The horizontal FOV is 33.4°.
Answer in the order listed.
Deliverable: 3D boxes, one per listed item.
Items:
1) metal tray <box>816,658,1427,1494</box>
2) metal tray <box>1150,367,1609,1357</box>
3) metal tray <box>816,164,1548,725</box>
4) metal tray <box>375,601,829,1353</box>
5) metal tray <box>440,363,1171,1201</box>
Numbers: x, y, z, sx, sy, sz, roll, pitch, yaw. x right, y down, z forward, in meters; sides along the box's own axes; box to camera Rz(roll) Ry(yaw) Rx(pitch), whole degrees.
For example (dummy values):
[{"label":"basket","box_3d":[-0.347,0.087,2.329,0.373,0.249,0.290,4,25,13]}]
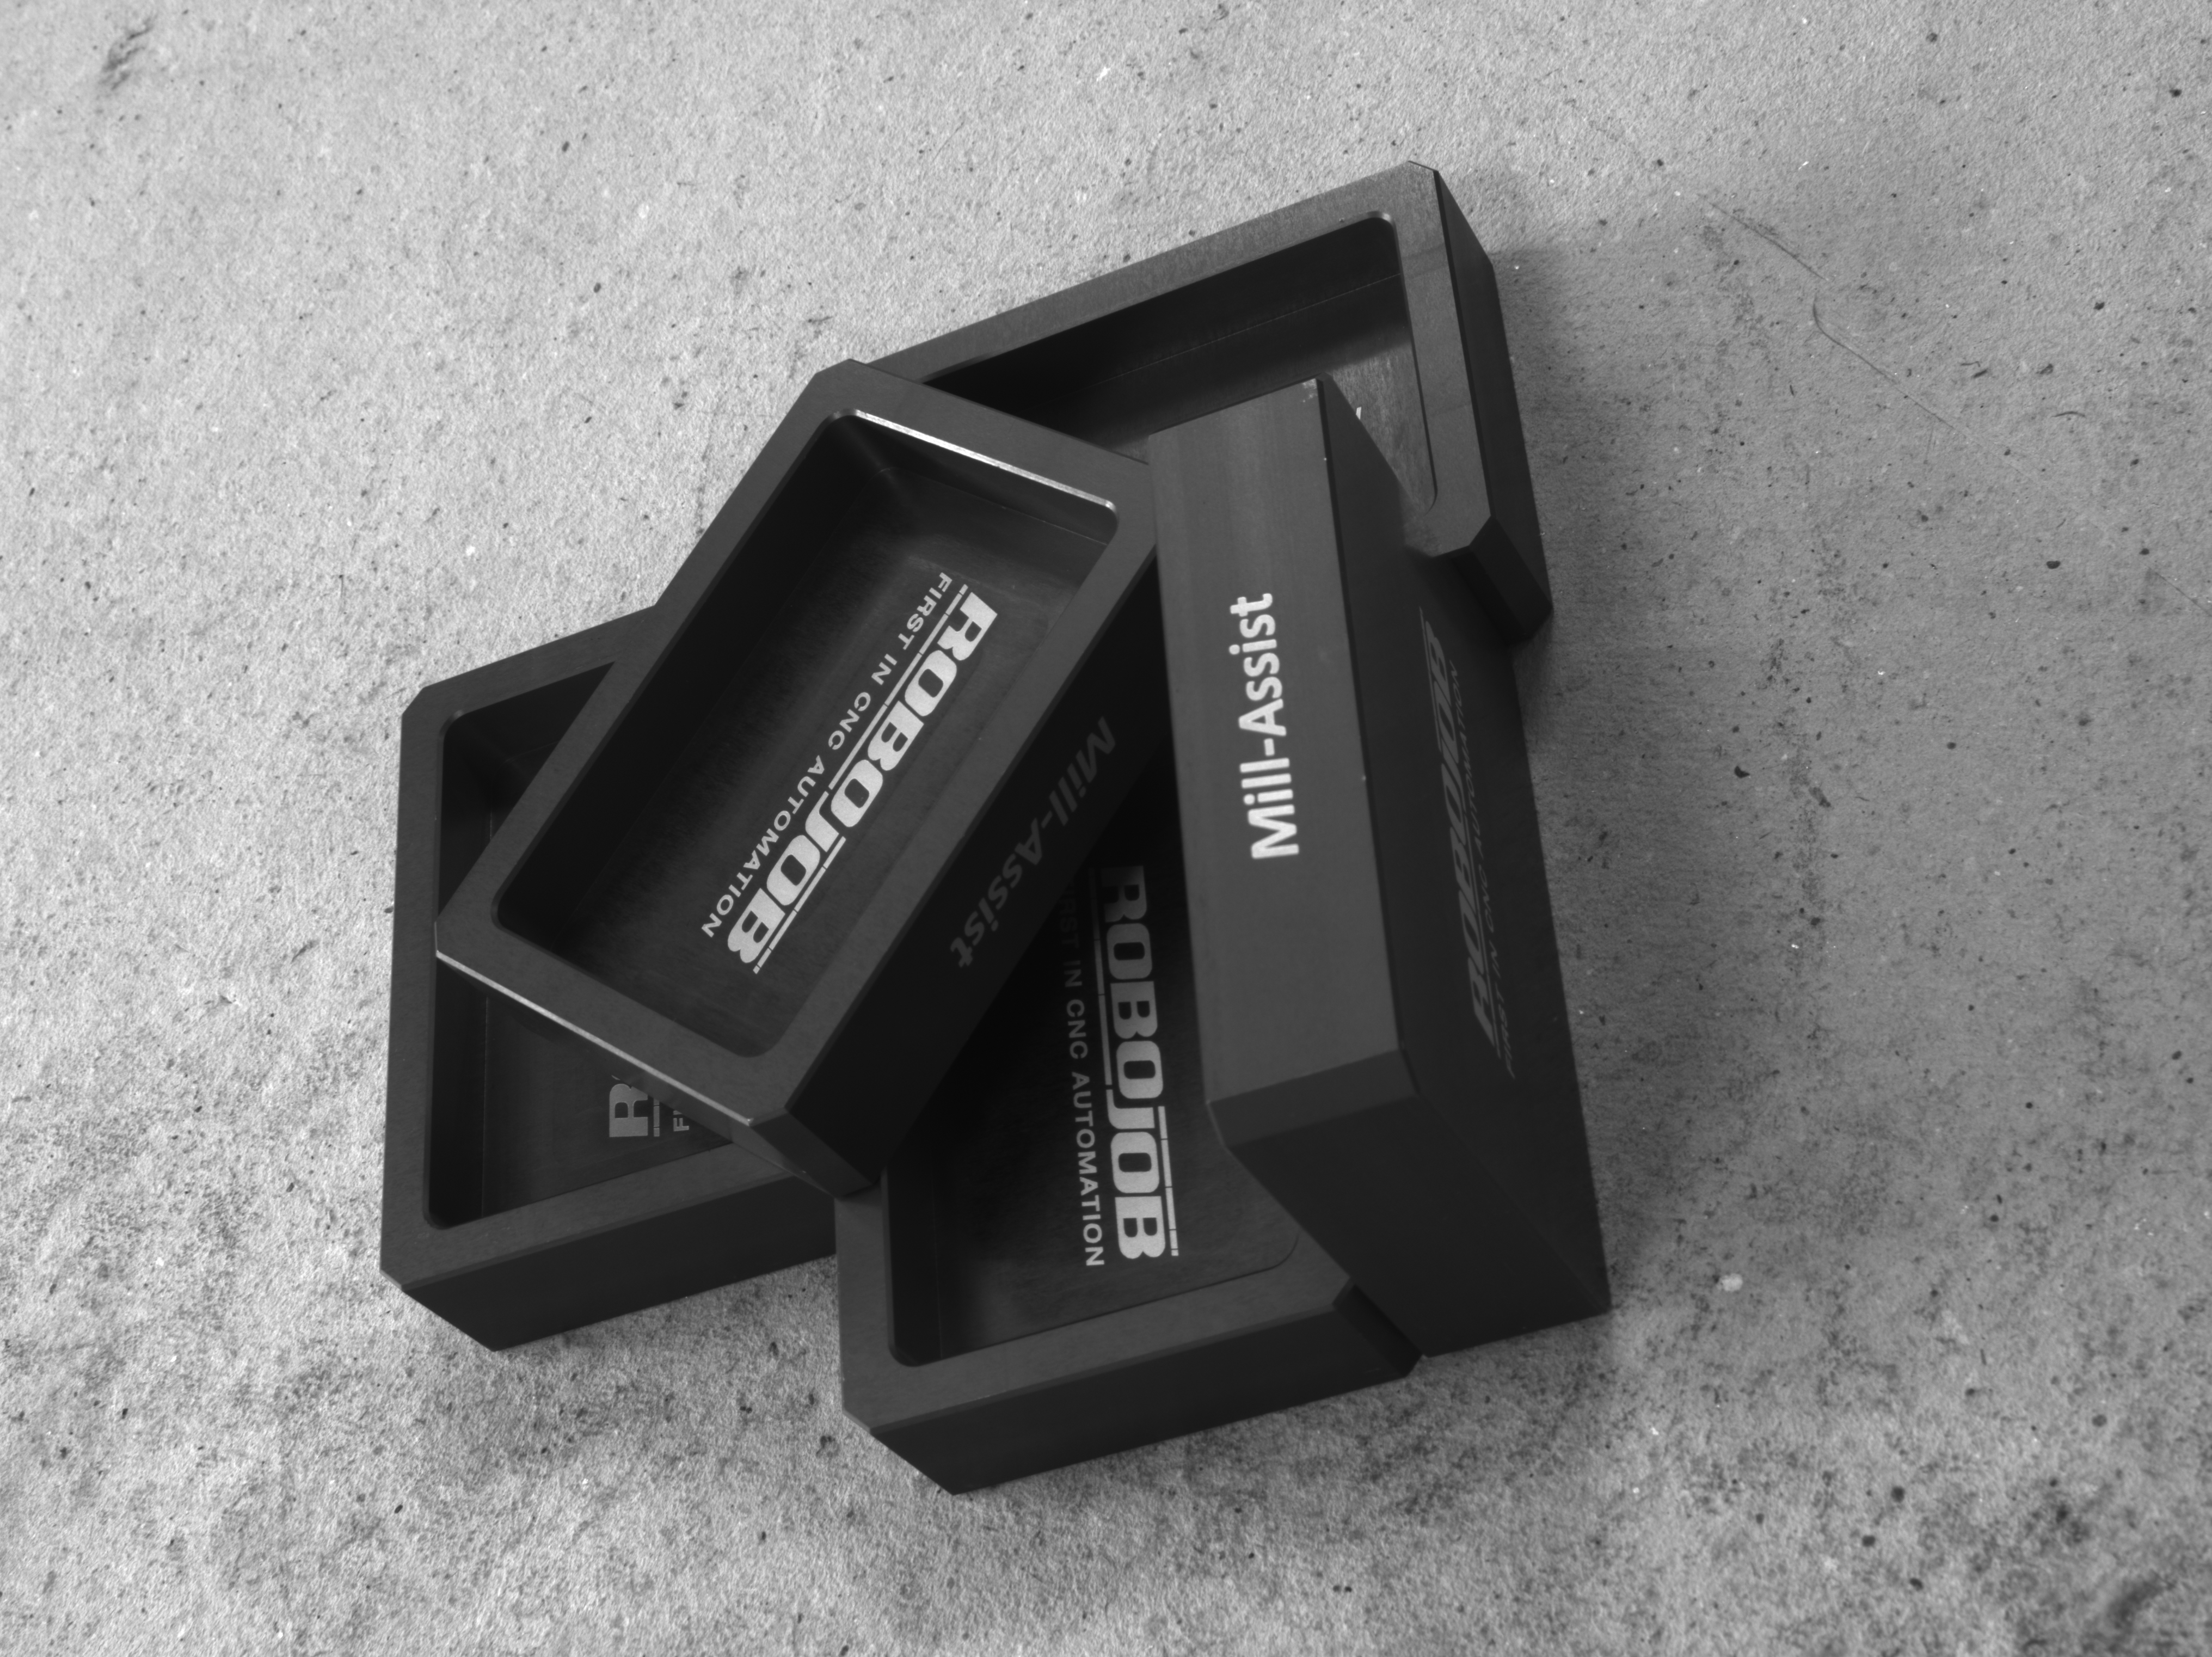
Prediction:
[{"label":"metal tray","box_3d":[-0.001,0.037,0.618,0.090,0.030,0.130,-18,55,19]},{"label":"metal tray","box_3d":[0.042,0.005,0.574,0.030,0.090,0.130,-17,55,19]},{"label":"metal tray","box_3d":[0.010,-0.059,0.675,0.130,0.030,0.090,-18,54,19]},{"label":"metal tray","box_3d":[-0.085,0.022,0.674,0.090,0.030,0.130,-18,54,19]},{"label":"metal tray","box_3d":[-0.045,-0.011,0.636,0.090,0.030,0.130,24,75,37]}]
